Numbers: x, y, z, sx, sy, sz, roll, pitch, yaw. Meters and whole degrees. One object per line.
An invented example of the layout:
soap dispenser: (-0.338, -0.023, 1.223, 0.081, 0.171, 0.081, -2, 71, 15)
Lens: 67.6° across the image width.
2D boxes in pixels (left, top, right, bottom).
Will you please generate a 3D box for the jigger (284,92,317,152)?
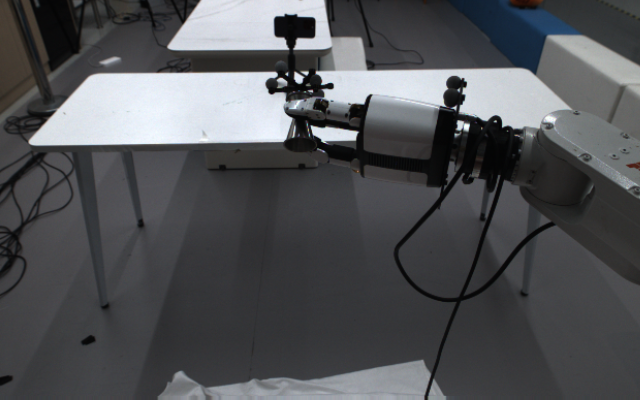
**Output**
jigger: (-0.026, -0.104, 0.629, 0.043, 0.043, 0.071, 1, 70, -2)
